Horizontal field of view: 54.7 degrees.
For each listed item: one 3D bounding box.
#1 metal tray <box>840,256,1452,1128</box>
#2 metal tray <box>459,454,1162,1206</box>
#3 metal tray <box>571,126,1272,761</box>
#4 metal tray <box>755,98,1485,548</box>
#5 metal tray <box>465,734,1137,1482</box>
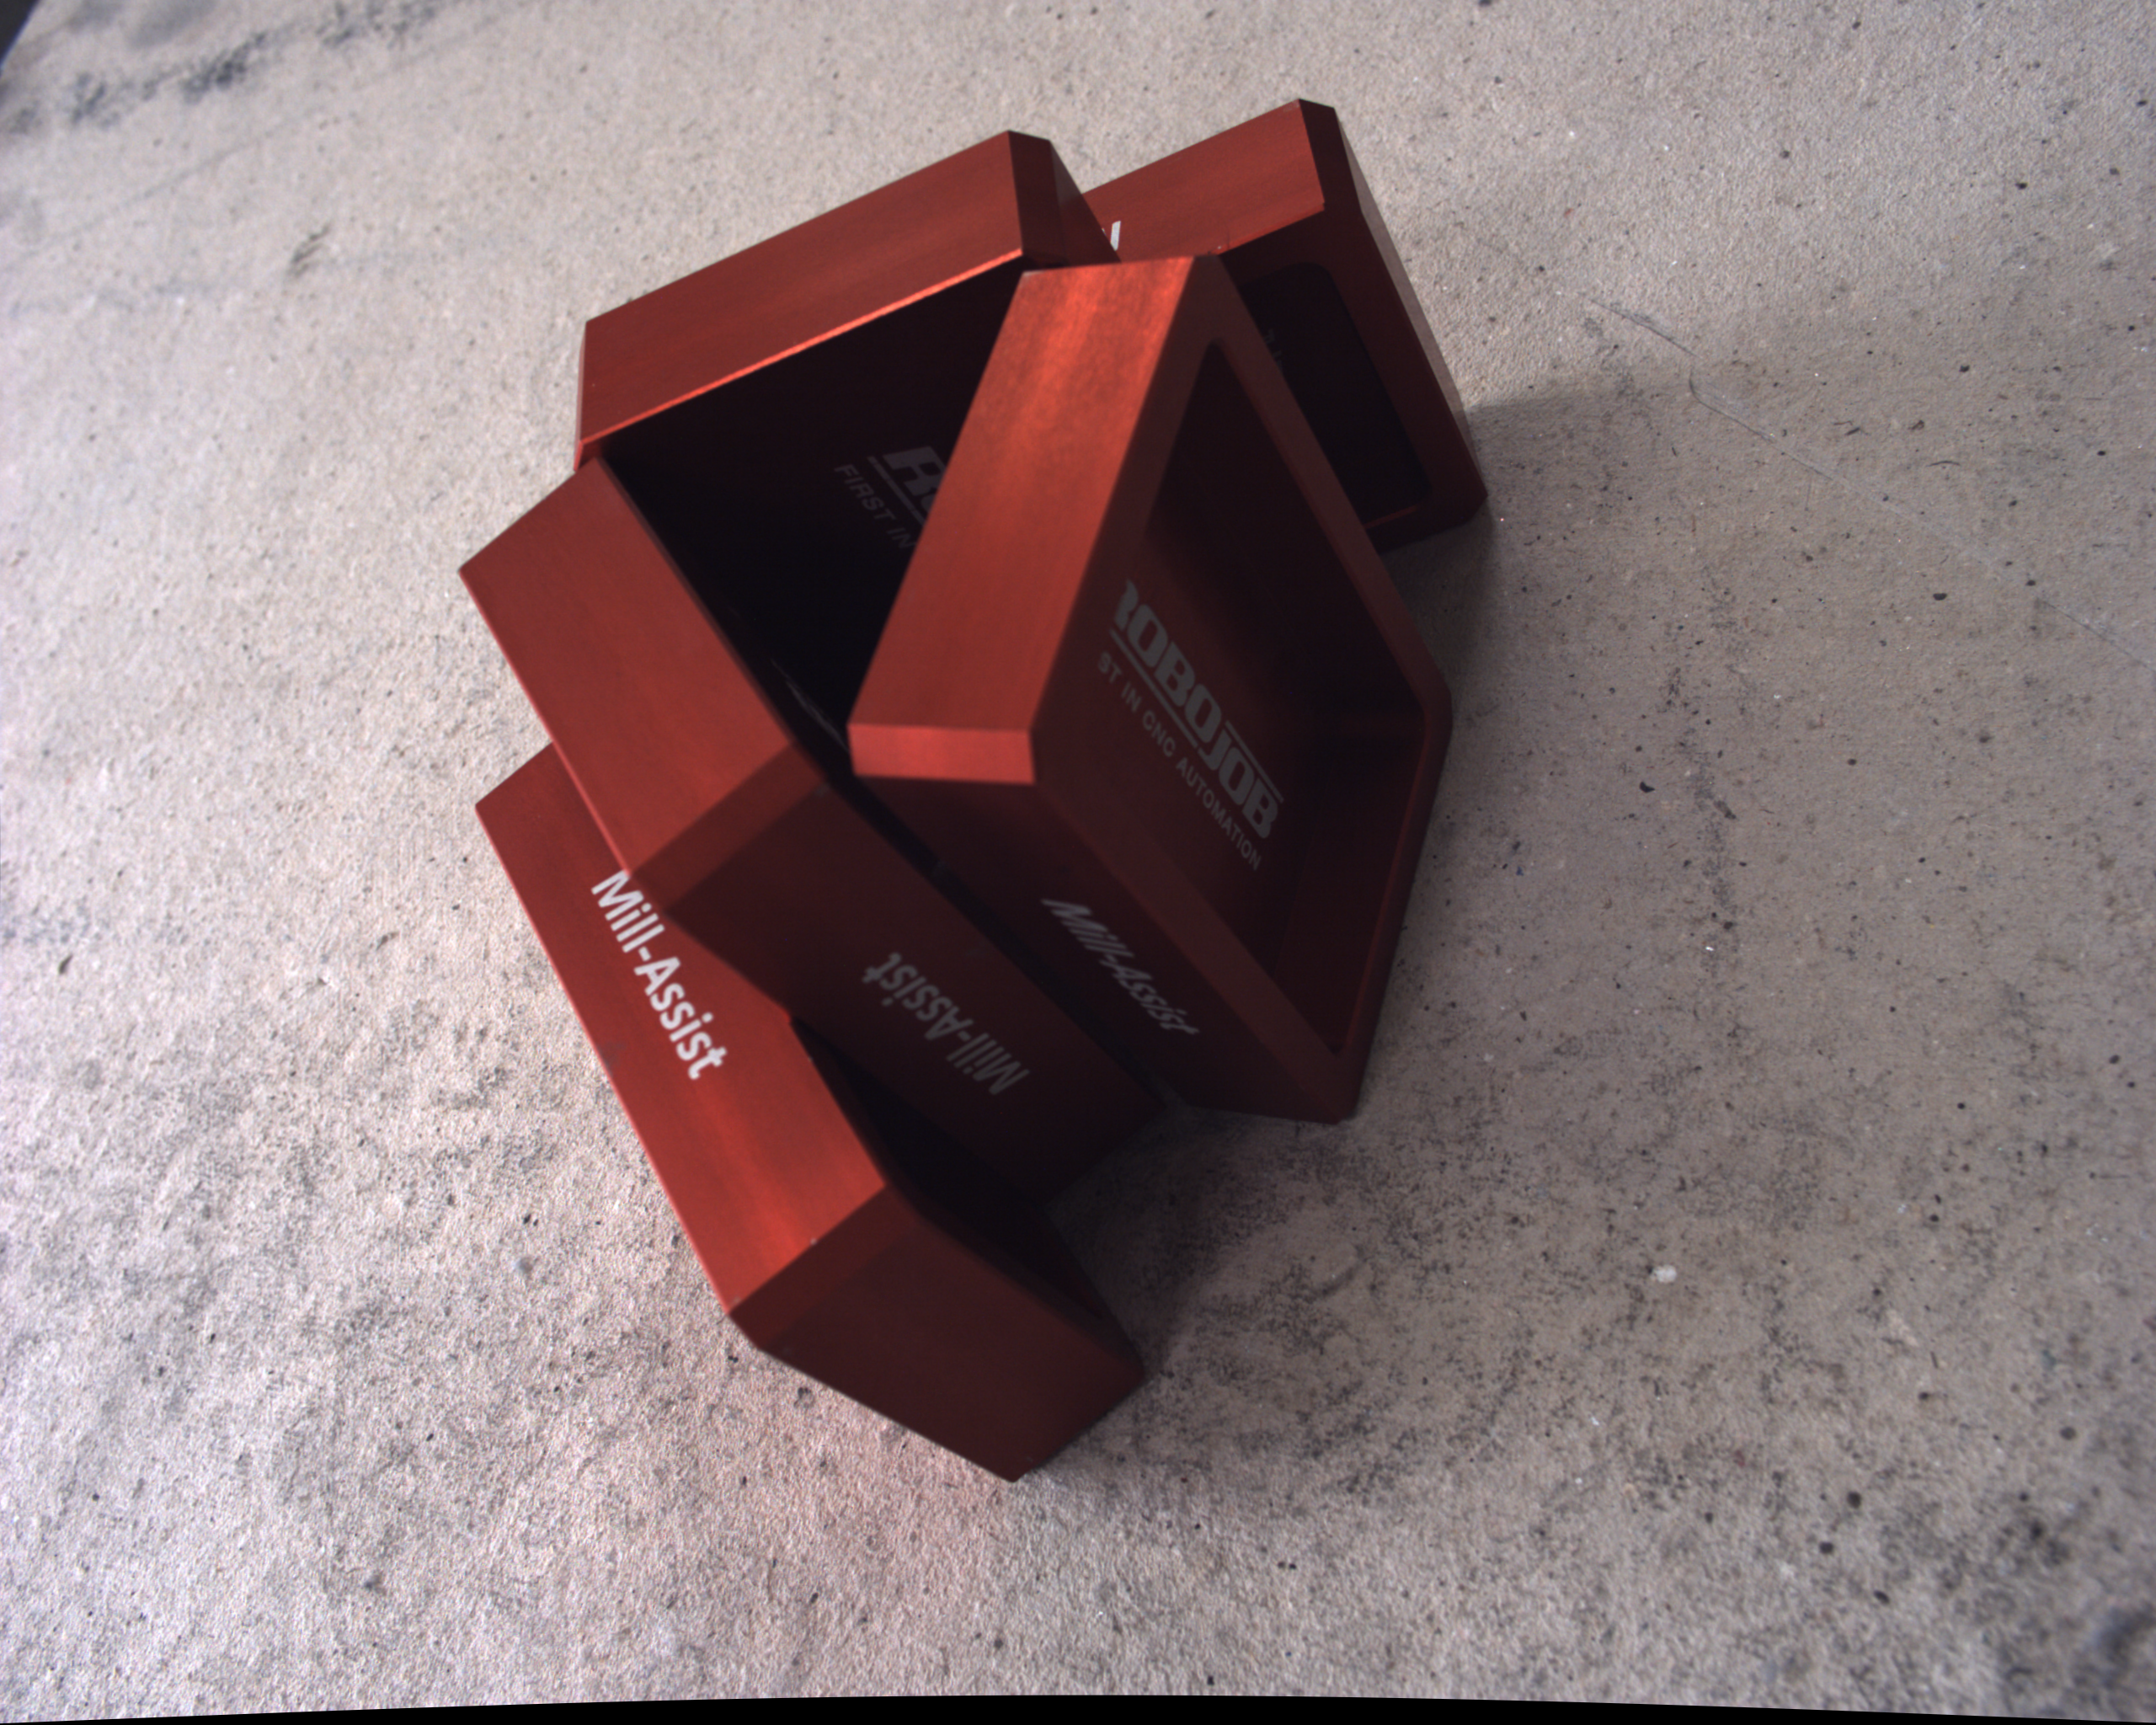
[{"bbox_3d":[0.020,-0.022,0.340,0.030,0.130,0.090,5,65,31],"label":"metal tray"},{"bbox_3d":[-0.042,-0.002,0.361,0.030,0.130,0.090,-40,51,1],"label":"metal tray"},{"bbox_3d":[-0.019,-0.063,0.386,0.090,0.130,0.030,-19,55,18],"label":"metal tray"},{"bbox_3d":[0.004,-0.084,0.412,0.130,0.090,0.030,-18,55,17],"label":"metal tray"},{"bbox_3d":[-0.049,0.038,0.365,0.030,0.090,0.130,-40,51,2],"label":"metal tray"}]
